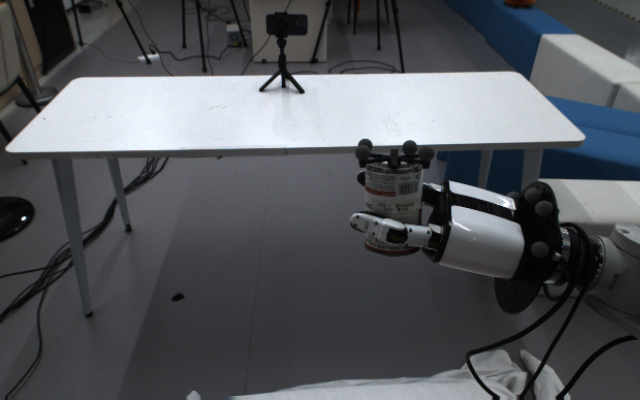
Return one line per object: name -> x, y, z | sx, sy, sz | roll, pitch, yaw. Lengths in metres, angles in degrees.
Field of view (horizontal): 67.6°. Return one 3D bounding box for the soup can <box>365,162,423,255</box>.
soup can -> 0.088, 0.006, 0.565 | 0.067, 0.101, 0.067 | -1, 17, 0
